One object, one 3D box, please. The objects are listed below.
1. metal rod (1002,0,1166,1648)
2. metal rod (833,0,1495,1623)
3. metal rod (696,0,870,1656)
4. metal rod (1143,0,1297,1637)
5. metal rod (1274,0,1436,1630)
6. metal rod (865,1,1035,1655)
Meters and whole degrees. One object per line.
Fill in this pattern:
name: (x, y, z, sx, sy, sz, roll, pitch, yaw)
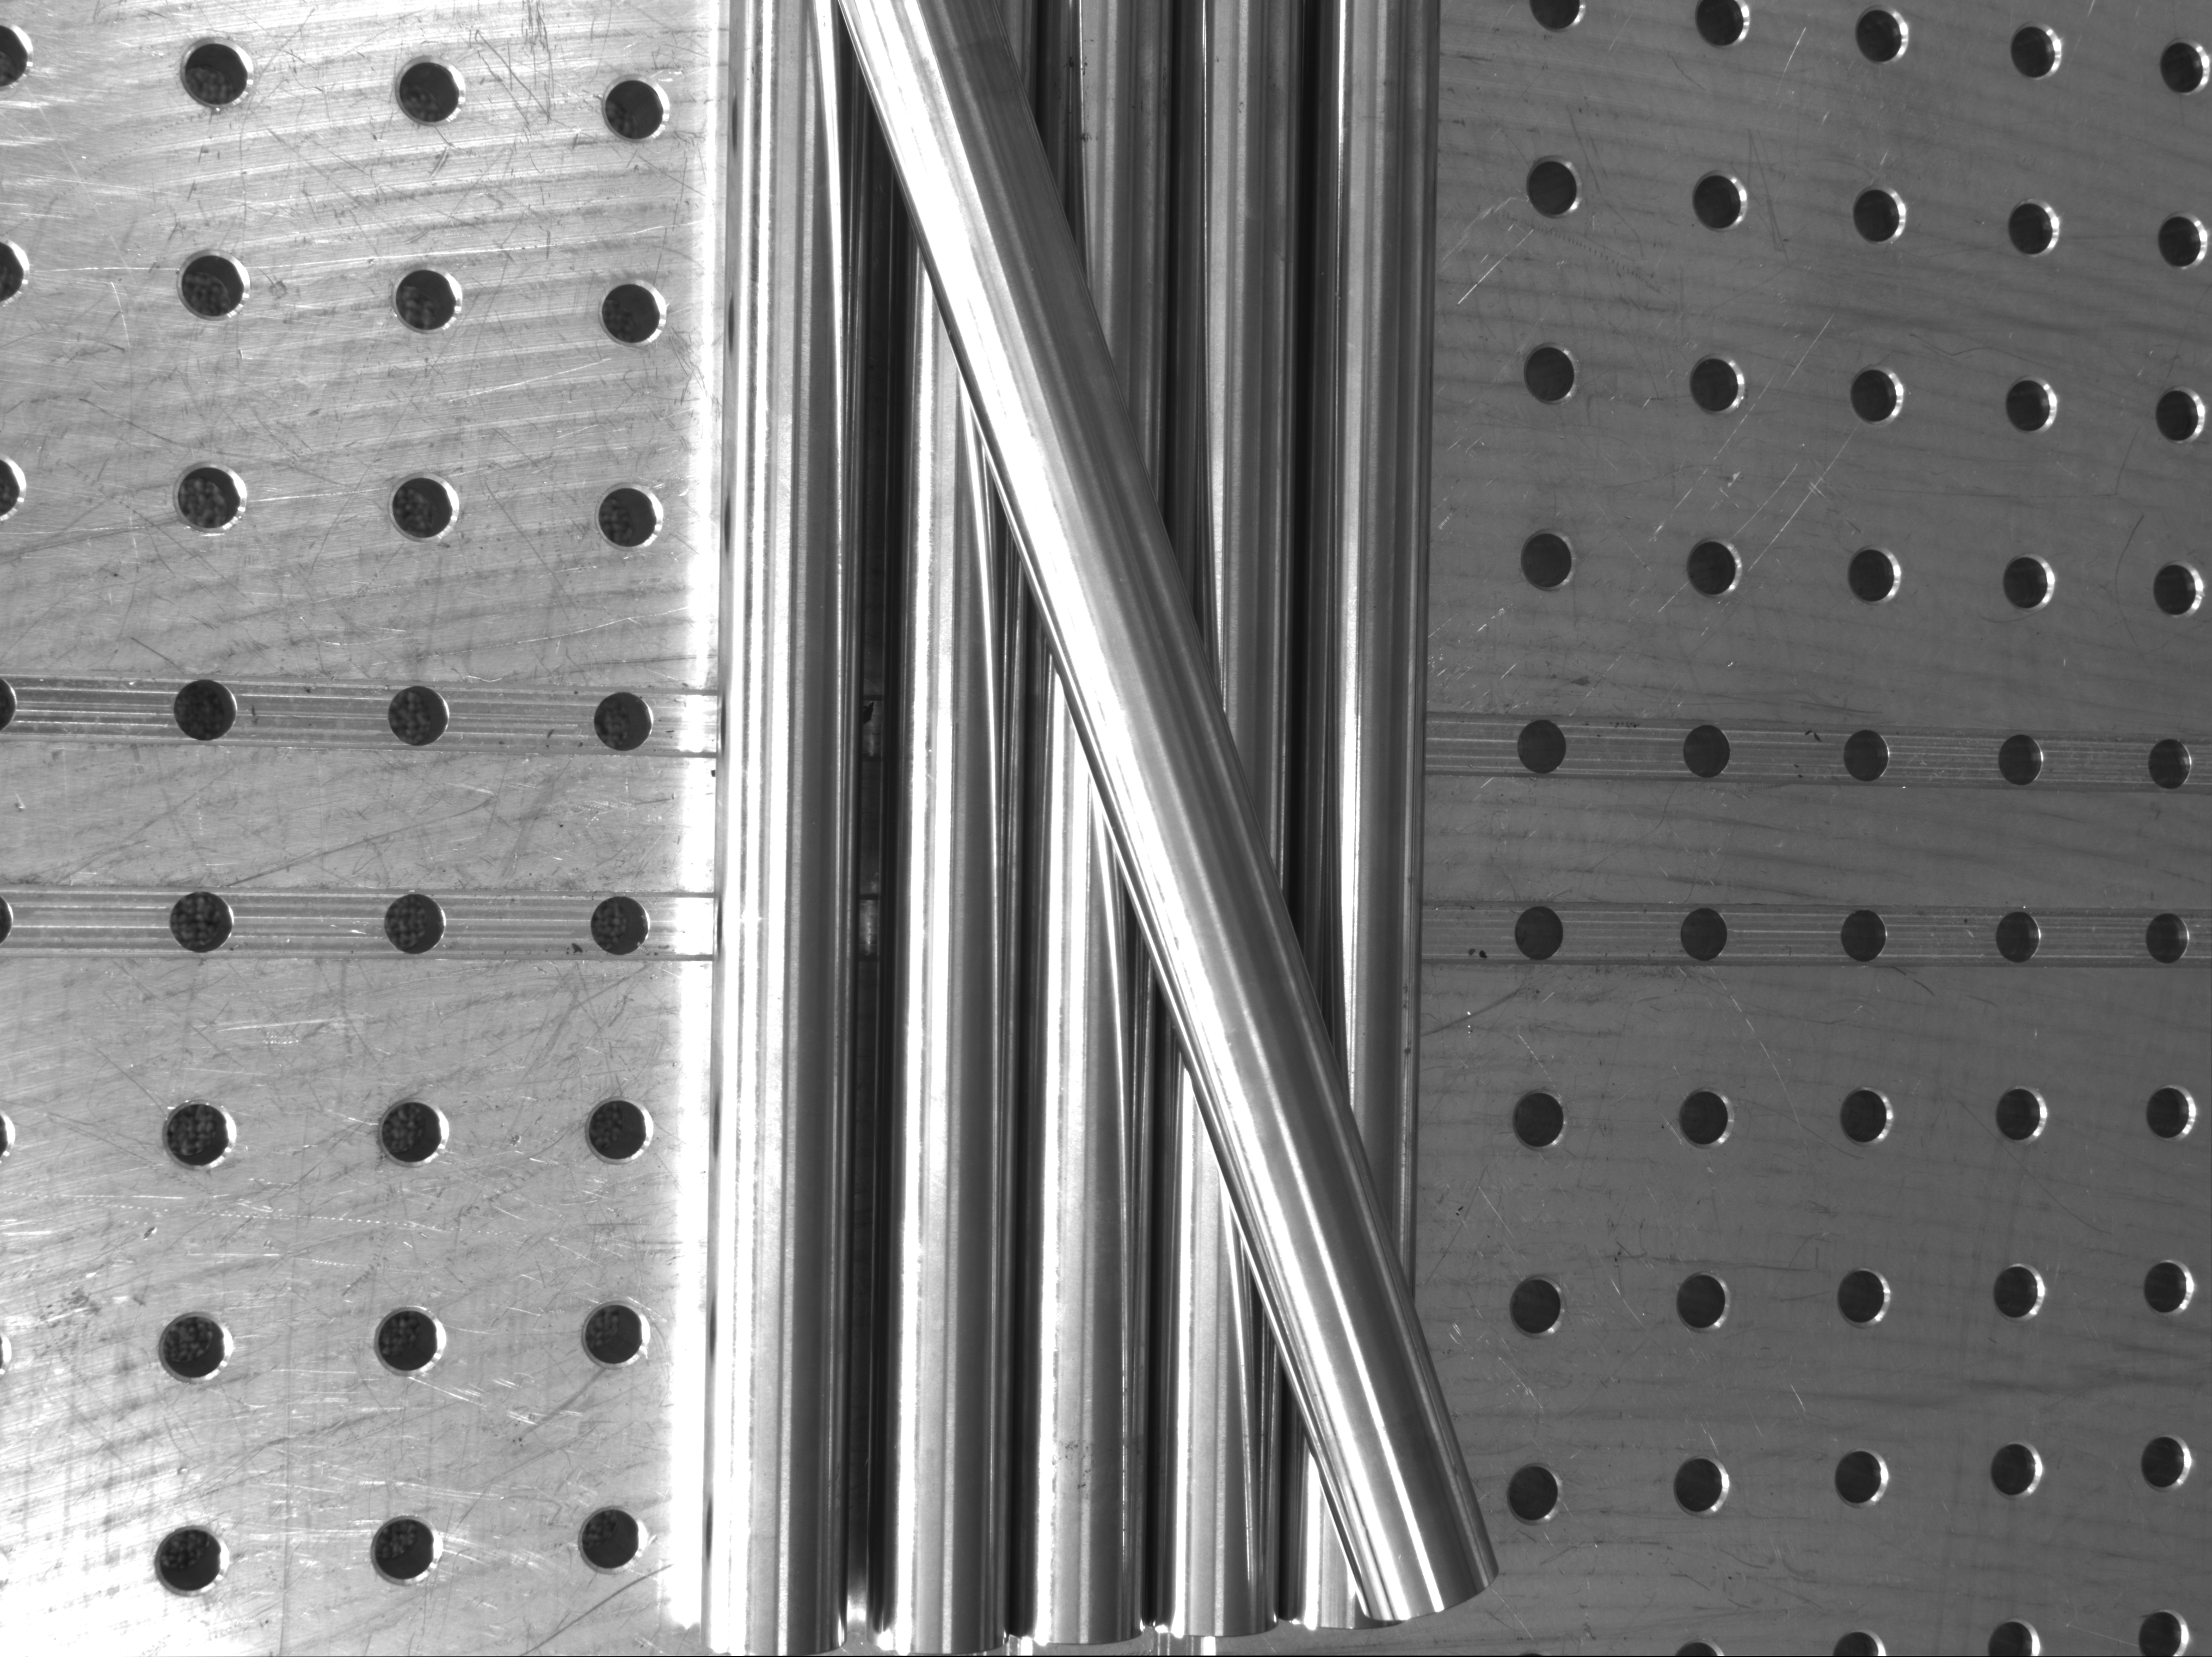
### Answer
metal rod: (-0.004, -0.009, 0.643, 0.025, 0.025, 0.300, 1, 90, -20)
metal rod: (0.010, -0.009, 0.623, 0.025, 0.025, 0.300, -20, 97, -19)
metal rod: (-0.055, -0.012, 0.625, 0.025, 0.025, 0.300, 1, 90, -20)
metal rod: (0.019, -0.009, 0.654, 0.025, 0.025, 0.300, 1, 90, -20)
metal rod: (0.044, -0.008, 0.662, 0.025, 0.025, 0.300, 1, 89, -20)
metal rod: (-0.027, -0.010, 0.635, 0.025, 0.025, 0.300, 1, 90, -20)
